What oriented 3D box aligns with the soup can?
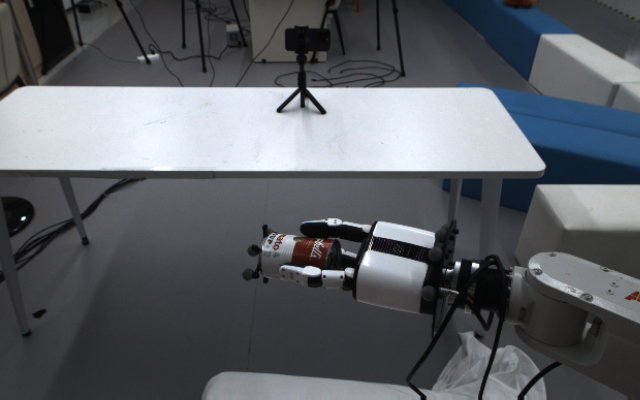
[{"bbox_3d":[-0.025,0.085,0.688,0.101,0.067,0.067,5,34,18],"label":"soup can"}]
